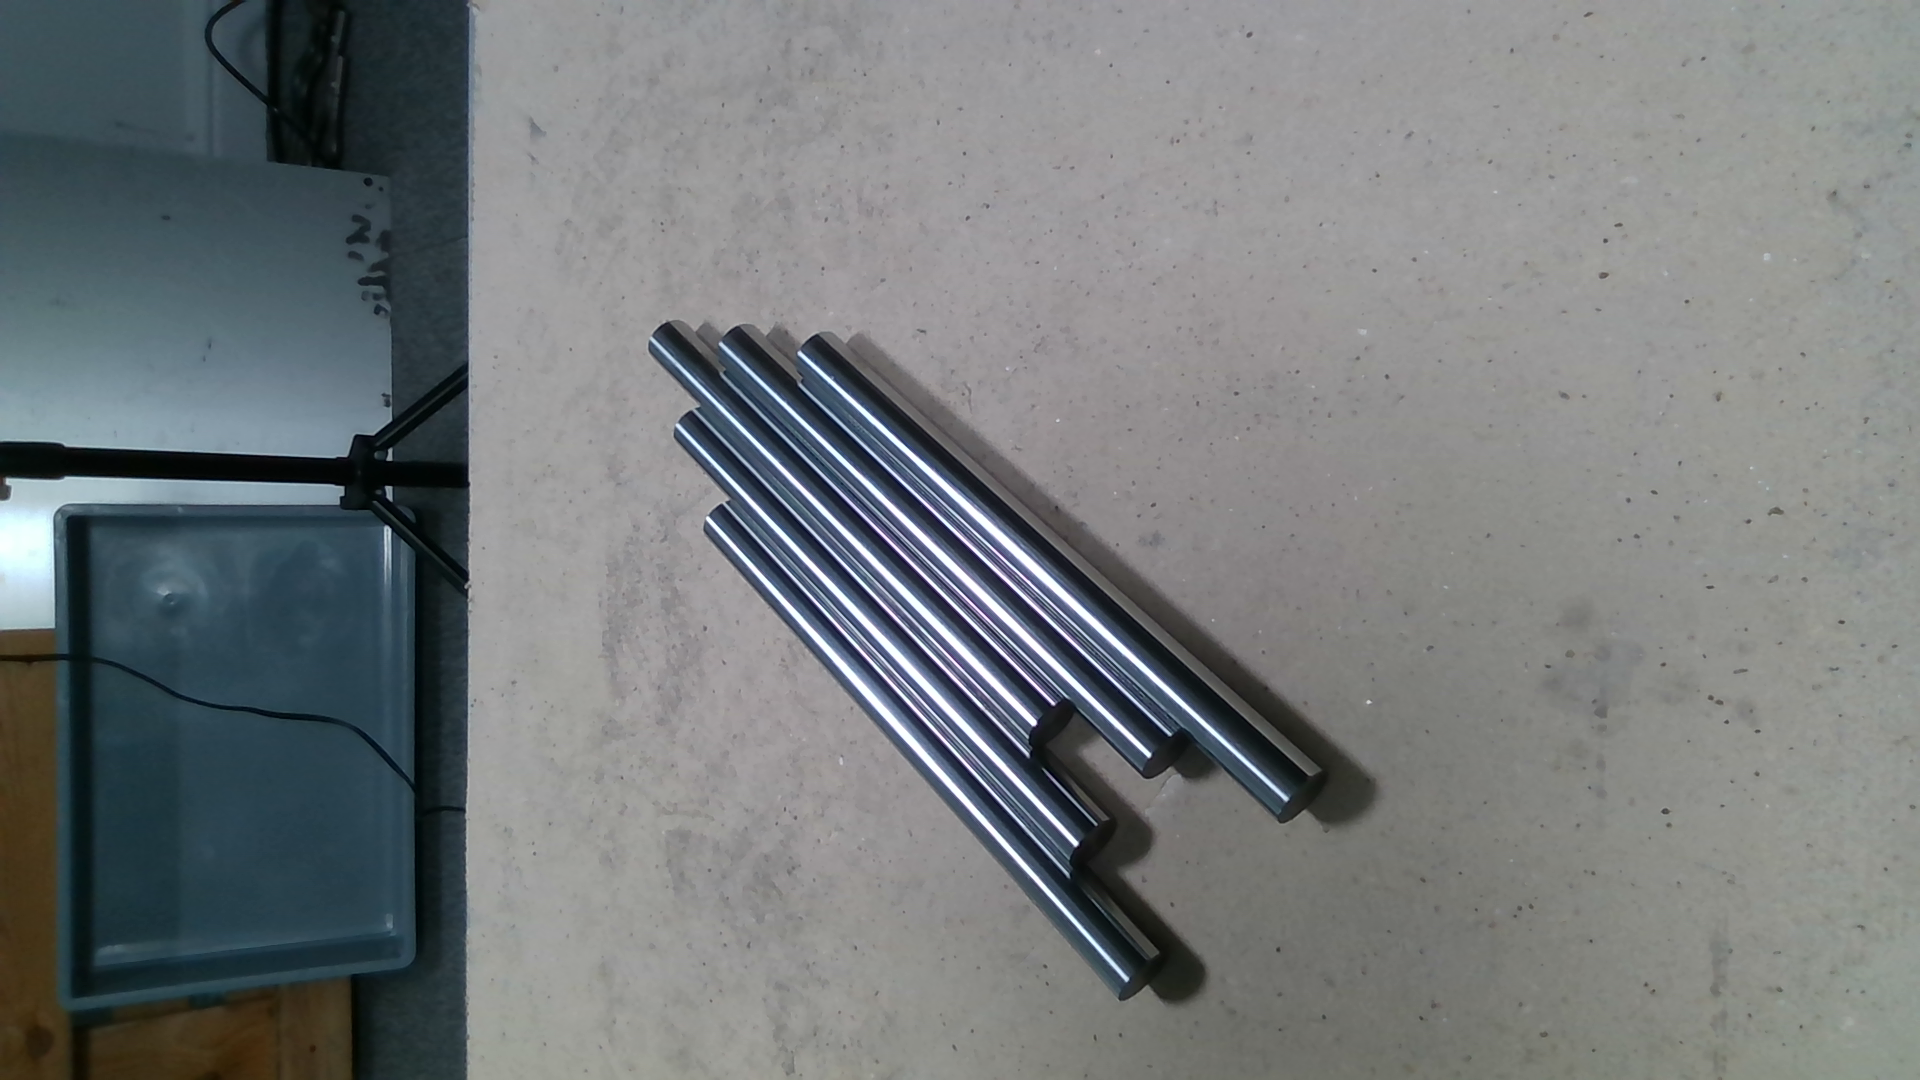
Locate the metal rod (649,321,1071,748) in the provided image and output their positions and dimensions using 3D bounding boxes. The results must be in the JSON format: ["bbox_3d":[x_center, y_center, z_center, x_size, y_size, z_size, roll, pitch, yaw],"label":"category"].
[{"bbox_3d":[-0.056,-0.014,0.630,0.299,0.025,0.025,43,117,31],"label":"metal rod"}]

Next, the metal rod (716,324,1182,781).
[{"bbox_3d":[-0.015,-0.007,0.595,0.299,0.025,0.025,43,117,31],"label":"metal rod"}]

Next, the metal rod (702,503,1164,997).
[{"bbox_3d":[-0.024,0.078,0.603,0.299,0.025,0.025,44,117,31],"label":"metal rod"}]

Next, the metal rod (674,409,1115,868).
[{"bbox_3d":[-0.041,0.031,0.617,0.299,0.025,0.025,44,117,31],"label":"metal rod"}]

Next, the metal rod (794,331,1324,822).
[{"bbox_3d":[0.026,0.002,0.560,0.299,0.025,0.025,44,117,31],"label":"metal rod"}]
